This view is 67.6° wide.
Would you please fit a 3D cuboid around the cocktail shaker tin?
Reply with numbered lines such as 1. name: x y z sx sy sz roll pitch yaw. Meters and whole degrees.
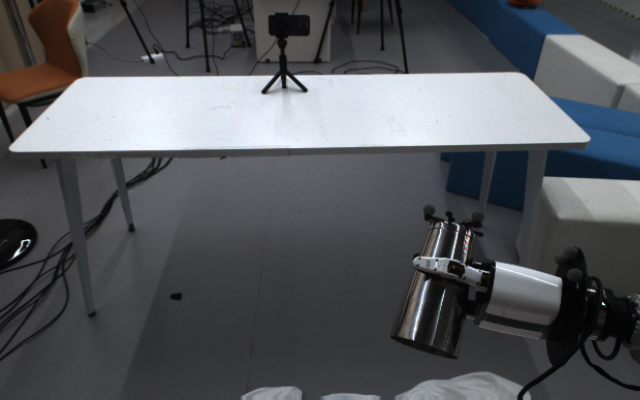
1. cocktail shaker tin: 0.162 0.118 0.665 0.093 0.093 0.170 14 69 17
